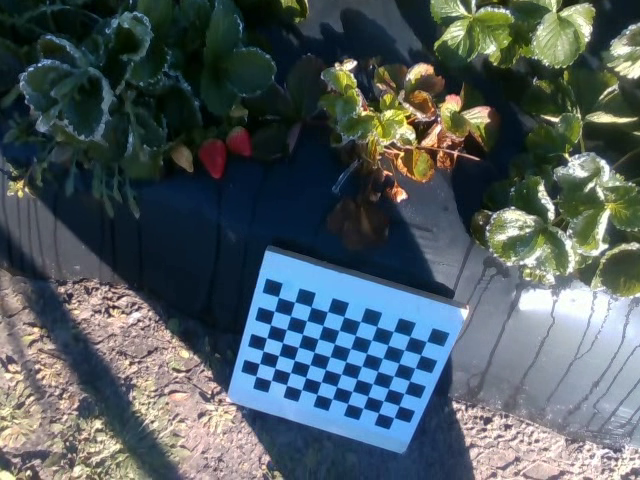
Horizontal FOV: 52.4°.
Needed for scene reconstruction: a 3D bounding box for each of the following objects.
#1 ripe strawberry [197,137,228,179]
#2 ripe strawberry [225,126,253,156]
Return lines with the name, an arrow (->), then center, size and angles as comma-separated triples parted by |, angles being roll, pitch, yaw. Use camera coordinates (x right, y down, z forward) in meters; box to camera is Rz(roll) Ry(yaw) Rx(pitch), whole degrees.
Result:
ripe strawberry -> -0.127, -0.094, 0.775 | 0.037, 0.051, 0.040 | -19, -16, 15
ripe strawberry -> -0.095, -0.119, 0.778 | 0.036, 0.041, 0.030 | -43, 8, 23
